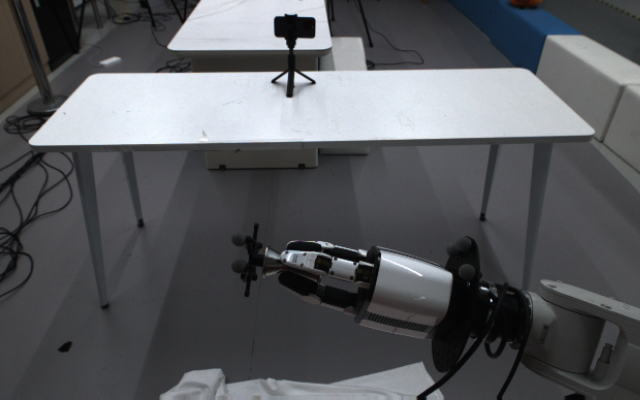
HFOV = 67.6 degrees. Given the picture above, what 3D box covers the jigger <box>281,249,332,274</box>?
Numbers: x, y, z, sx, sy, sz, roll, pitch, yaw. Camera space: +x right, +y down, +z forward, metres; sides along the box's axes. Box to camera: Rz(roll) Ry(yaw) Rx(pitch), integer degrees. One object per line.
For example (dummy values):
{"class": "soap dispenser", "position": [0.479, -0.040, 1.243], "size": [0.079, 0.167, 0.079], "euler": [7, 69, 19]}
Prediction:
{"class": "jigger", "position": [-0.024, 0.073, 0.584], "size": [0.071, 0.043, 0.043], "euler": [5, 35, 3]}
